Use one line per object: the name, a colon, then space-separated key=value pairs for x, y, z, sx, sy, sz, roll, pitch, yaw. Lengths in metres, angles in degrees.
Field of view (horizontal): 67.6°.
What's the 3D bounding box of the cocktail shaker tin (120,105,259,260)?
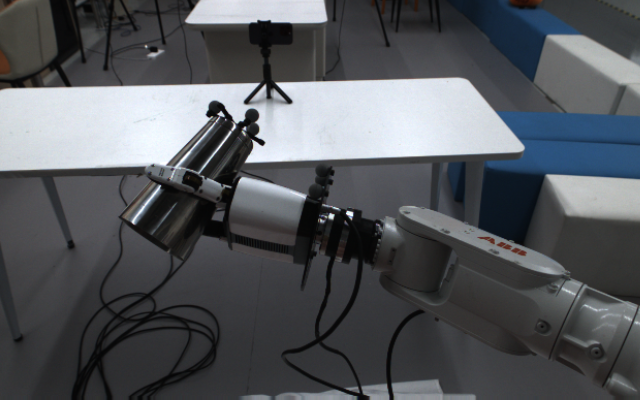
cocktail shaker tin: x=-0.158 y=-0.025 z=0.602 sx=0.093 sy=0.093 sz=0.170 roll=22 pitch=67 yaw=26
